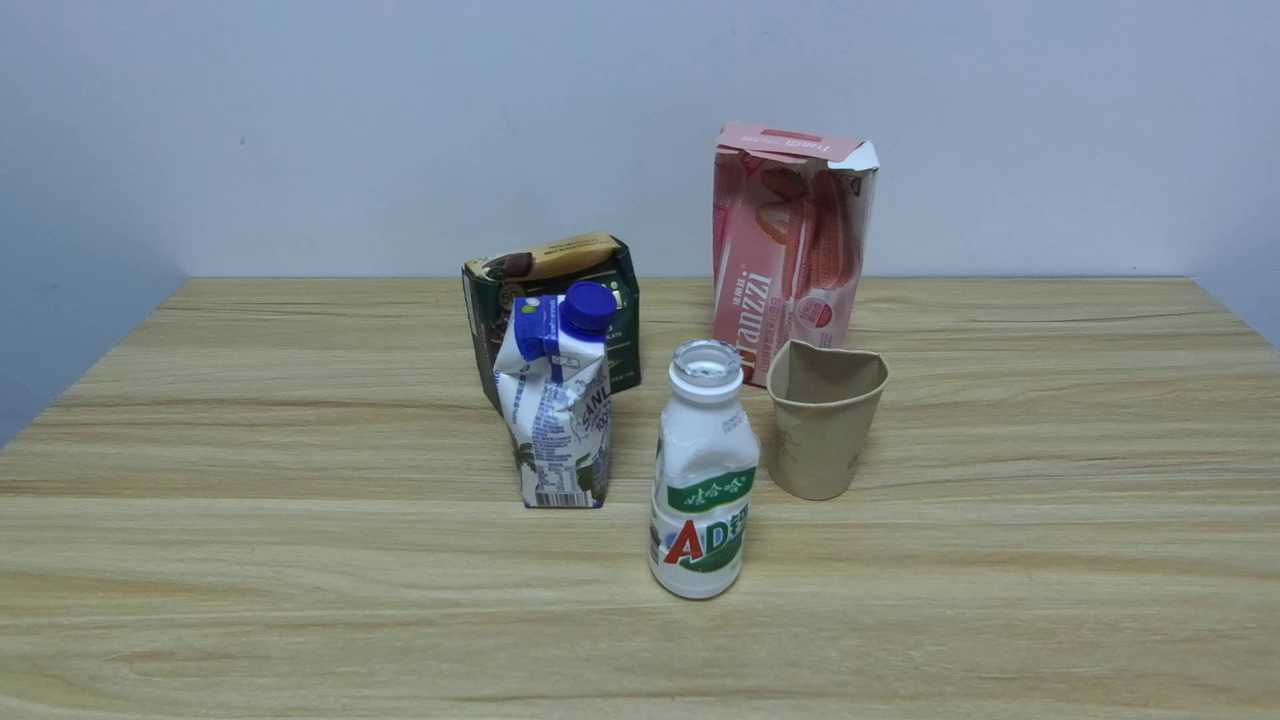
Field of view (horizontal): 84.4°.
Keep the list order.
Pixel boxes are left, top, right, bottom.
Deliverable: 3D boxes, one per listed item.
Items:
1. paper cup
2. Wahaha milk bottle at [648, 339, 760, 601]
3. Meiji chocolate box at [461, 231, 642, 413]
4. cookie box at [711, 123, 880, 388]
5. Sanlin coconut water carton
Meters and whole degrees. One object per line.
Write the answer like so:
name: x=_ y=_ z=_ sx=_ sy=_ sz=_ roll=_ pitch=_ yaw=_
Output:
paper cup: x=0.112 y=0.041 z=0.438 sx=0.071 sy=0.084 sz=0.066 roll=8 pitch=36 yaw=13
Wahaha milk bottle: x=0.031 y=0.058 z=0.362 sx=0.055 sy=0.149 sz=0.055 roll=0 pitch=35 yaw=1
Meiji chocolate box: x=-0.061 y=-0.025 z=0.519 sx=0.113 sy=0.111 sz=0.058 roll=-17 pitch=28 yaw=-24
cookie box: x=0.099 y=-0.063 z=0.498 sx=0.118 sy=0.184 sz=0.055 roll=16 pitch=38 yaw=24
Sanlin coconut water carton: x=-0.048 y=0.022 z=0.419 sx=0.070 sy=0.144 sz=0.060 roll=1 pitch=37 yaw=0
